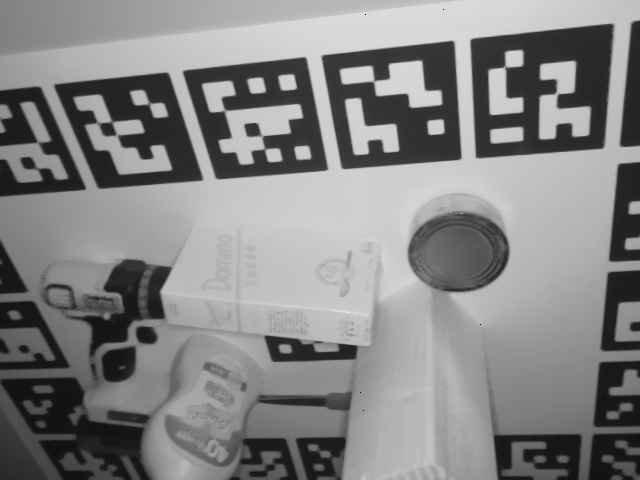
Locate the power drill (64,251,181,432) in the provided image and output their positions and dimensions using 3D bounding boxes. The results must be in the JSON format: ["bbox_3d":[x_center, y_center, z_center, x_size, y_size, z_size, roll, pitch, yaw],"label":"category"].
[{"bbox_3d":[-0.162,0.105,0.694,0.185,0.058,0.185,11,115,0],"label":"power drill"}]

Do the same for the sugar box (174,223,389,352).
[{"bbox_3d":[-0.030,0.039,0.619,0.176,0.094,0.045,11,126,3],"label":"sugar box"}]

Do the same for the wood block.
[{"bbox_3d":[0.095,0.148,0.614,0.090,0.208,0.090,-27,114,22],"label":"wood block"}]

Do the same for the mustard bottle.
[{"bbox_3d":[-0.118,0.179,0.665,0.096,0.193,0.057,43,117,-17],"label":"mustard bottle"}]

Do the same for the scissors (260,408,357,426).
[{"bbox_3d":[0.035,0.188,0.746,0.202,0.016,0.087,1,126,6],"label":"scissors"}]

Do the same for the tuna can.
[{"bbox_3d":[0.136,0.018,0.615,0.085,0.034,0.085,3,121,6],"label":"tuna can"}]
